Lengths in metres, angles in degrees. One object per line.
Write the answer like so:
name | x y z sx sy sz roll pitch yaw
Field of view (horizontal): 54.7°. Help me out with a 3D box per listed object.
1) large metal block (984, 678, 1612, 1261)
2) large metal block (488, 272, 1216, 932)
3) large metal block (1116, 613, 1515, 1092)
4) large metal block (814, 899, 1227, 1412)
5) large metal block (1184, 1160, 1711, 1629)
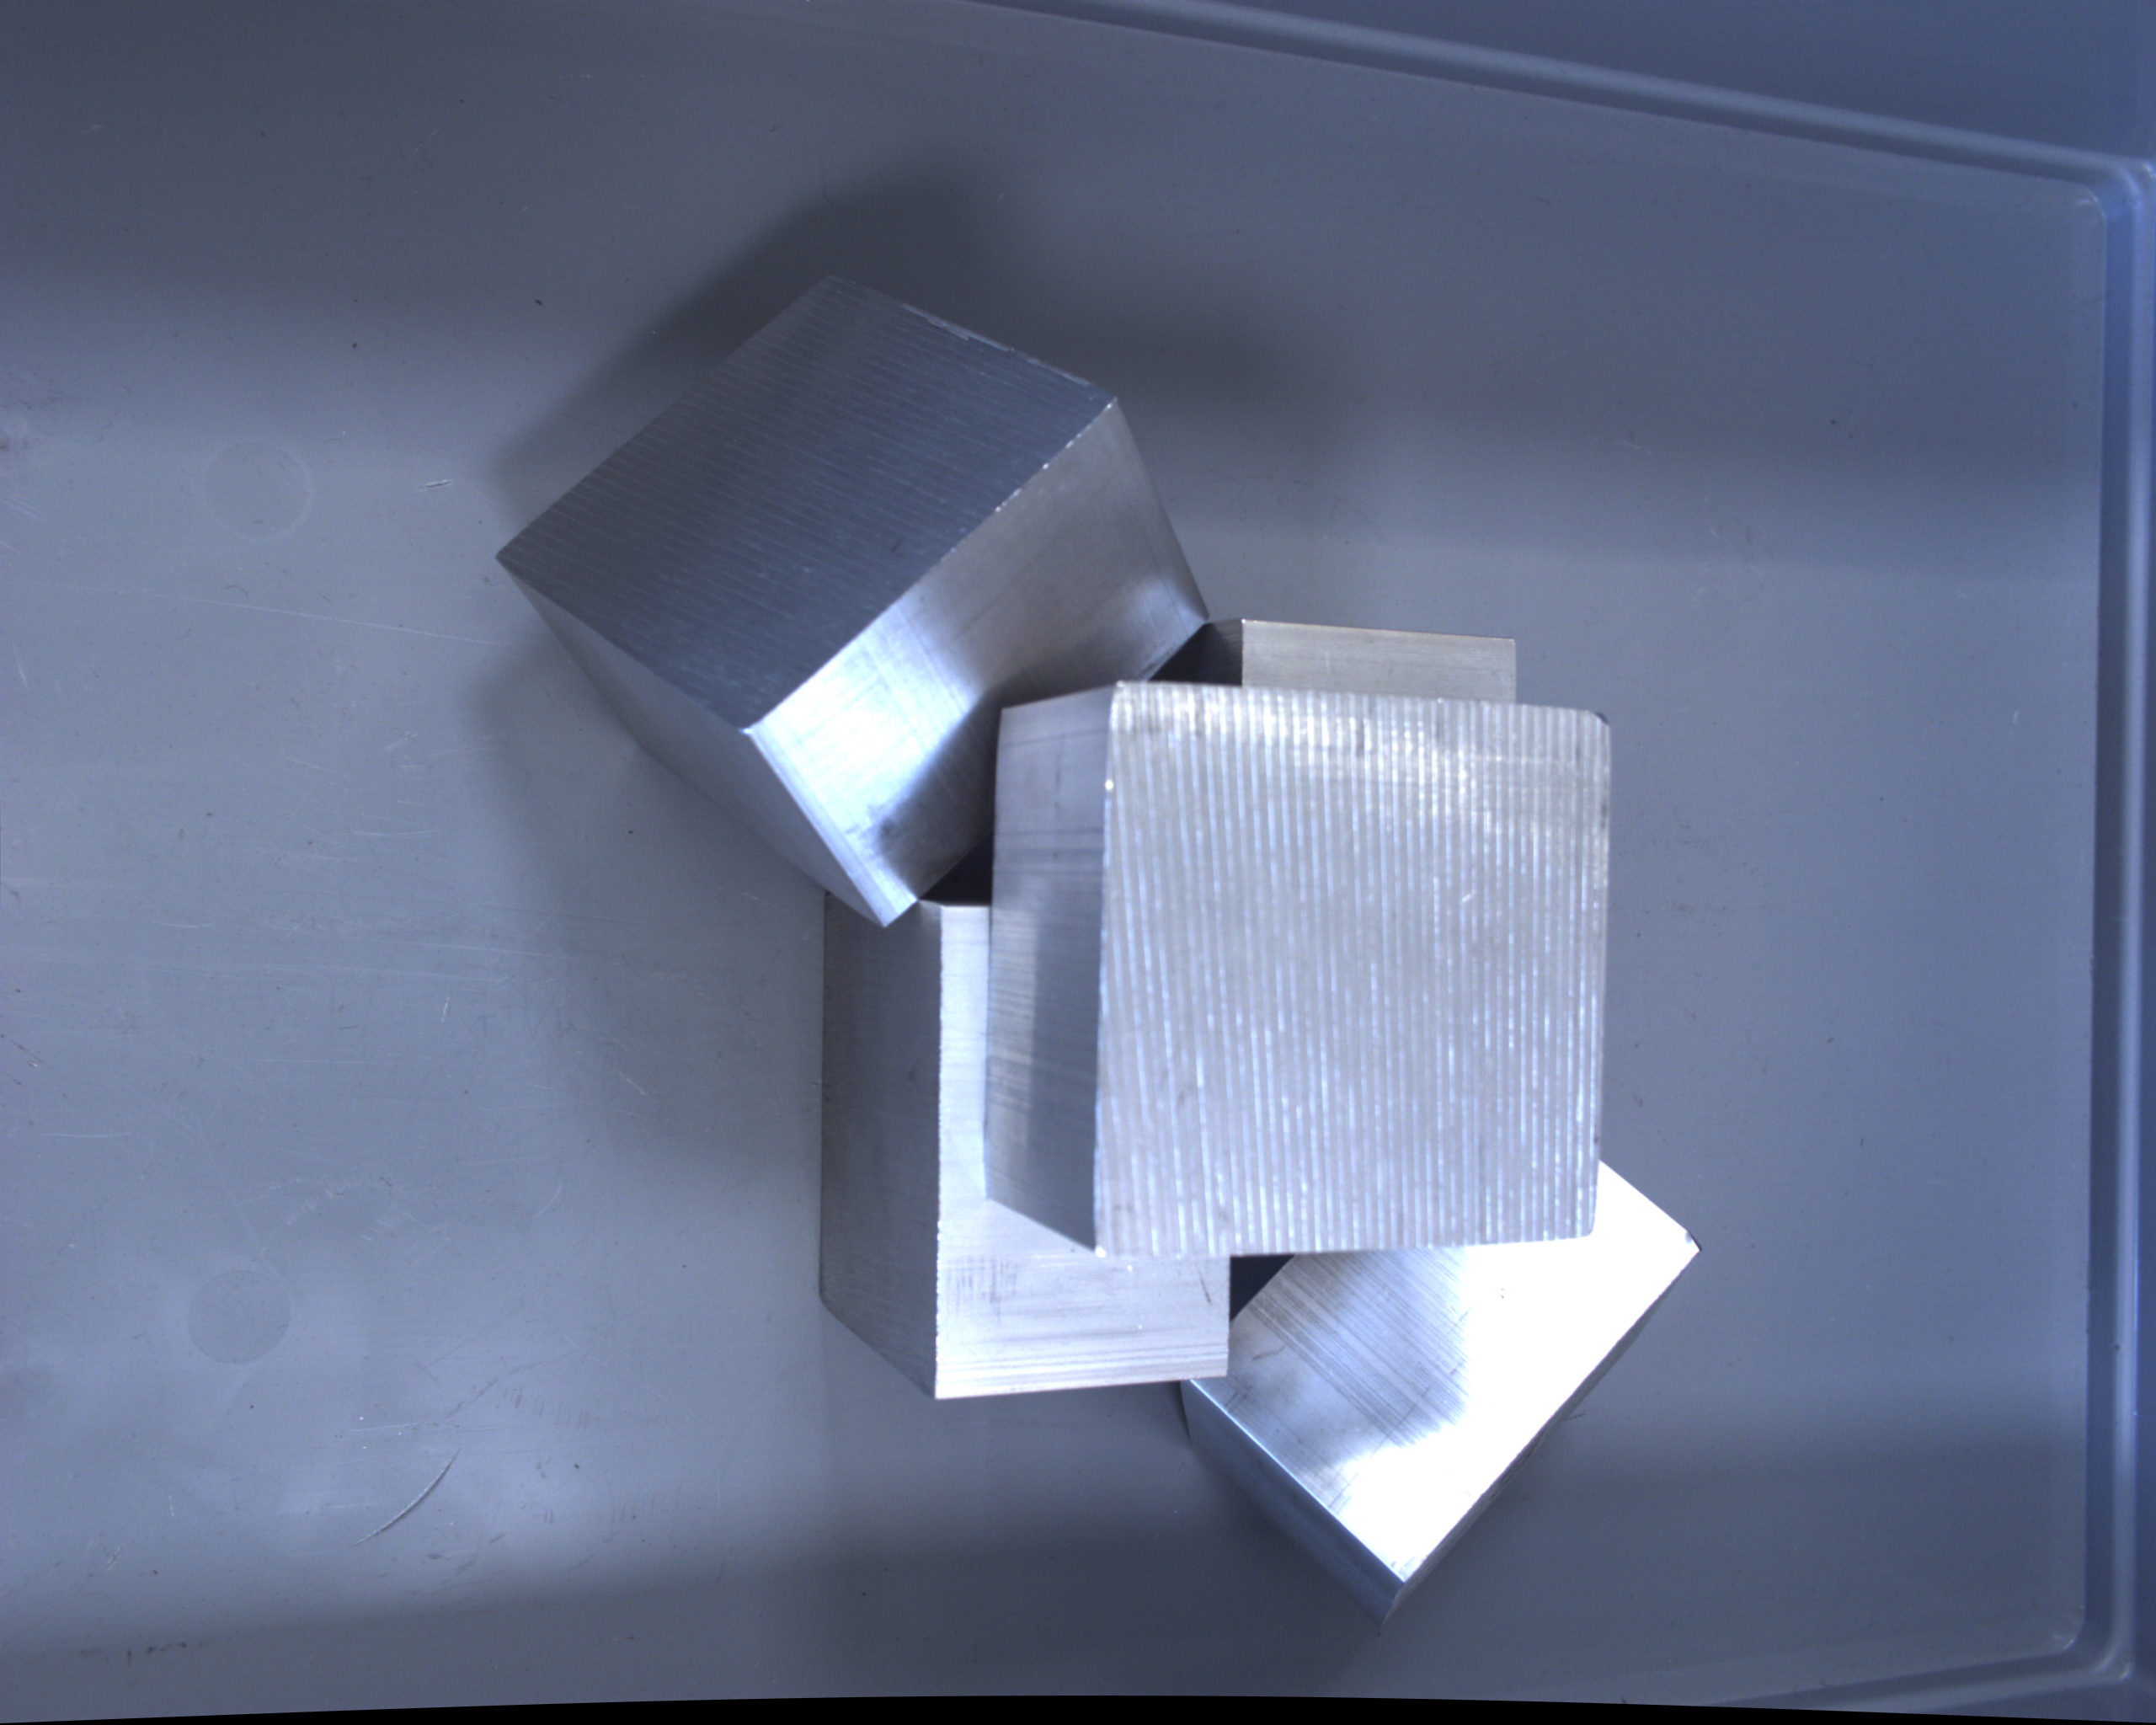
large metal block | 0.033 0.015 0.322 0.081 0.050 0.080 2 90 -20
large metal block | -0.038 -0.047 0.358 0.080 0.080 0.050 -45 139 -15
large metal block | 0.038 -0.001 0.392 0.050 0.080 0.080 1 90 -20
large metal block | -0.013 0.047 0.375 0.050 0.080 0.080 1 90 -20
large metal block | 0.067 0.094 0.396 0.080 0.080 0.050 -43 69 -15
